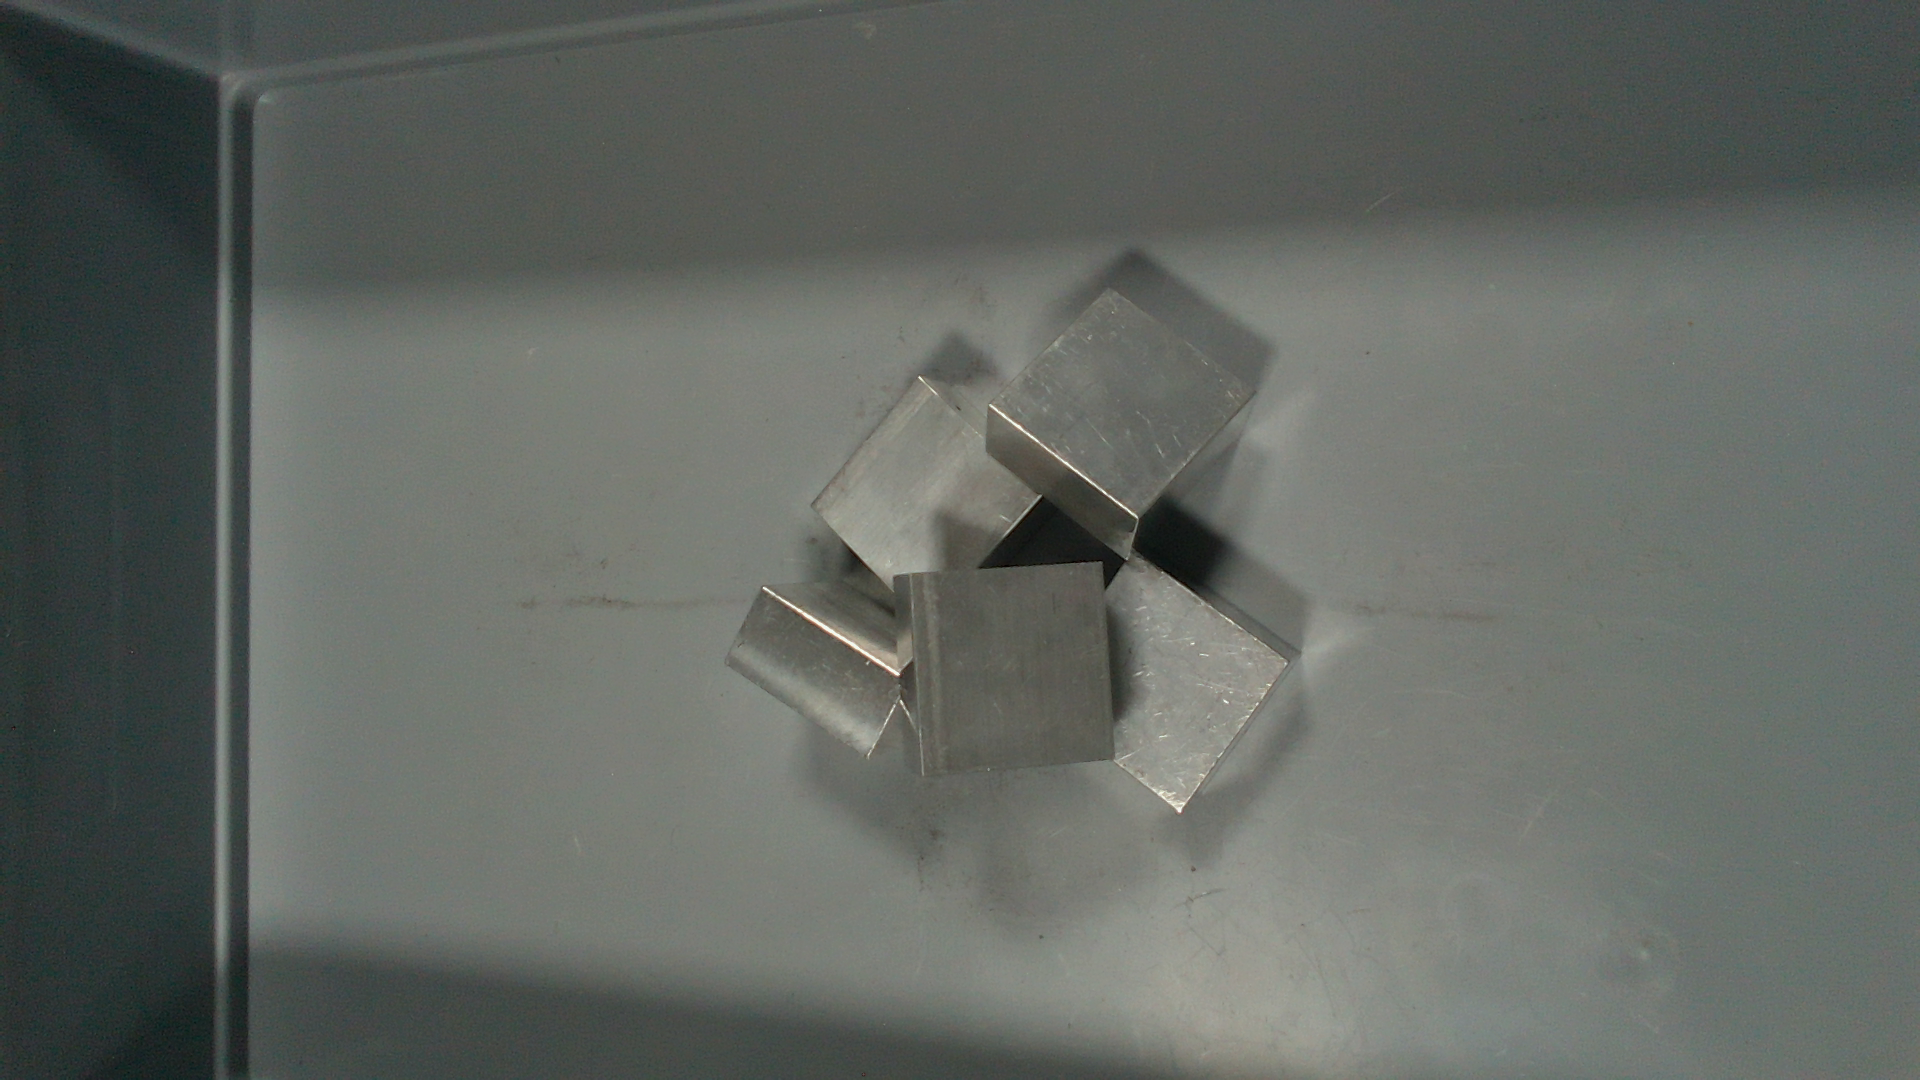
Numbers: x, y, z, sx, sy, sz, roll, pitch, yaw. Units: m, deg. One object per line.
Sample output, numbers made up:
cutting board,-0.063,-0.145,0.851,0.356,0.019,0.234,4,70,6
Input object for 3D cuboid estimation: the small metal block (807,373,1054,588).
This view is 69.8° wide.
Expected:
small metal block,-0.007,-0.011,0.396,0.050,0.025,0.050,45,104,14

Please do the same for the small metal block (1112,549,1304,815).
small metal block,0.057,0.037,0.374,0.050,0.025,0.050,37,102,16

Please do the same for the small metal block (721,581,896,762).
small metal block,-0.031,0.035,0.392,0.050,0.050,0.025,31,100,17

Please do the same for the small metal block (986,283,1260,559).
small metal block,0.043,-0.032,0.367,0.050,0.025,0.050,39,69,15

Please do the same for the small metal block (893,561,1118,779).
small metal block,0.011,0.032,0.352,0.050,0.025,0.050,-3,89,-12
